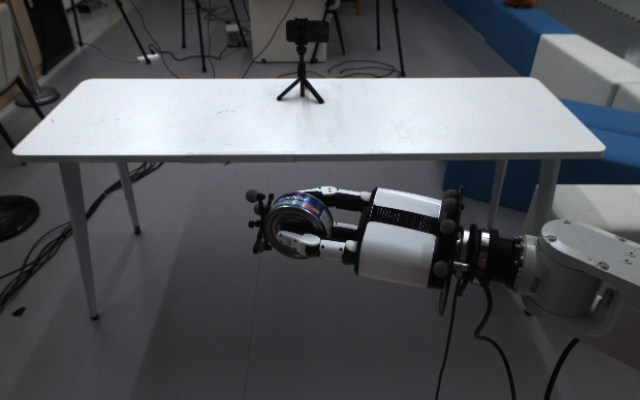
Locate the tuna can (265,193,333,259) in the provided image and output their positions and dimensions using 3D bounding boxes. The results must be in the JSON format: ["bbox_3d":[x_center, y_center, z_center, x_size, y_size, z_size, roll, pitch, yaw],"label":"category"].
[{"bbox_3d":[-0.024,0.036,0.620,0.085,0.085,0.034,9,33,10],"label":"tuna can"}]
